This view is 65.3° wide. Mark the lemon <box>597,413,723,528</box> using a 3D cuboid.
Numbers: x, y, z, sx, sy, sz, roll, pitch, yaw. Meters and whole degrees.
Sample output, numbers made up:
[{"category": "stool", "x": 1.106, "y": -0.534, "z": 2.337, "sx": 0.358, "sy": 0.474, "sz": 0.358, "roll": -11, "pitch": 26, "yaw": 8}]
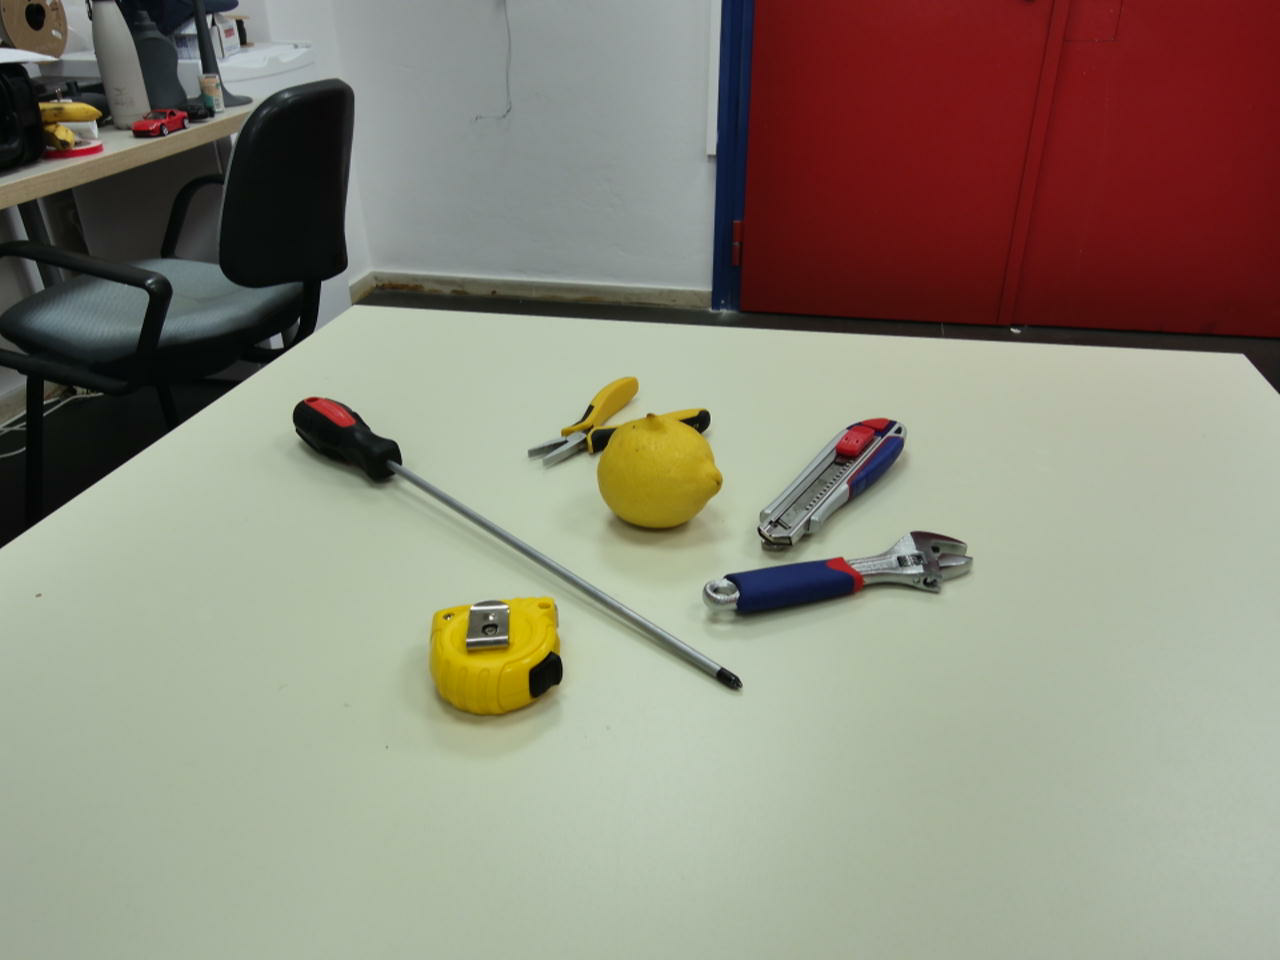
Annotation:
[{"category": "lemon", "x": 0.010, "y": -0.008, "z": 0.606, "sx": 0.070, "sy": 0.071, "sz": 0.071, "roll": -12, "pitch": 28, "yaw": -20}]
